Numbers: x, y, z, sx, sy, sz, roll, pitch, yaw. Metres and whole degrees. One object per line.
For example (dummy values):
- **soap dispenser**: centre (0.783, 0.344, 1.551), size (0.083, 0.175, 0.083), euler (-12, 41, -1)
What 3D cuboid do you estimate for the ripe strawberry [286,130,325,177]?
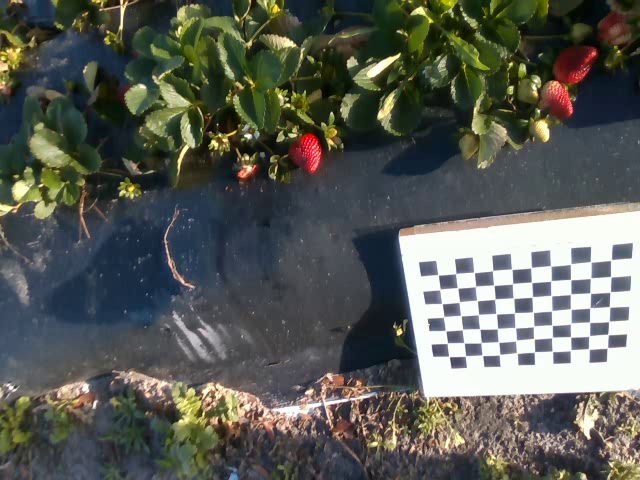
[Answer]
- **ripe strawberry**: centre (-0.018, -0.108, 0.689), size (0.052, 0.052, 0.041), euler (-36, -42, 23)
